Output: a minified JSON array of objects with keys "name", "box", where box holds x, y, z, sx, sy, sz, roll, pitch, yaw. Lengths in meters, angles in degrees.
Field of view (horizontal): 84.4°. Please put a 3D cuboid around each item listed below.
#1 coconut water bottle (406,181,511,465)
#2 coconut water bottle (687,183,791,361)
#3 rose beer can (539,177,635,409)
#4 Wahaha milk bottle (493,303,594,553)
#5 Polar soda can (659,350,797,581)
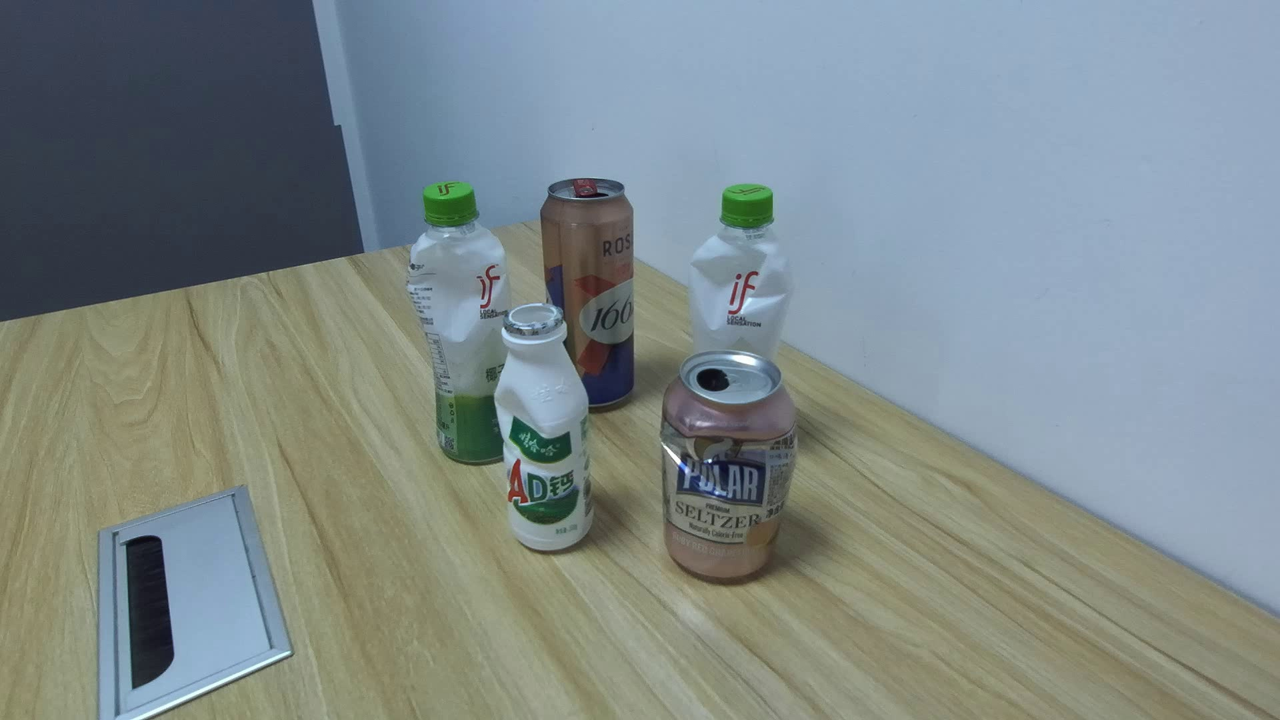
[{"name":"coconut water bottle","box":[-0.114,-0.023,0.473,0.069,0.187,0.069,1,28,0]},{"name":"coconut water bottle","box":[0.064,-0.019,0.462,0.067,0.187,0.067,0,28,1]},{"name":"rose beer can","box":[-0.037,-0.047,0.539,0.068,0.169,0.068,1,27,0]},{"name":"Wahaha milk bottle","box":[-0.056,0.040,0.403,0.056,0.148,0.056,0,31,0]},{"name":"Polar soda can","box":[0.045,0.060,0.395,0.067,0.122,0.074,-20,36,-30]}]
